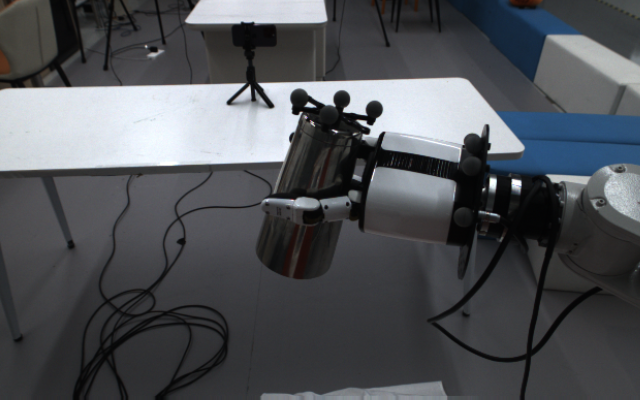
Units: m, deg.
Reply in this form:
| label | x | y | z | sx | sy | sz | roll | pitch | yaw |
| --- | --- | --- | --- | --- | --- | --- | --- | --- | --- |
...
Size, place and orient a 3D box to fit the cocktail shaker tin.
| label | x | y | z | sx | sy | sz | roll | pitch | yaw |
| --- | --- | --- | --- | --- | --- | --- | --- | --- | --- |
| cocktail shaker tin | -0.006 | -0.009 | 0.528 | 0.093 | 0.170 | 0.093 | 12 | 29 | -7 |
